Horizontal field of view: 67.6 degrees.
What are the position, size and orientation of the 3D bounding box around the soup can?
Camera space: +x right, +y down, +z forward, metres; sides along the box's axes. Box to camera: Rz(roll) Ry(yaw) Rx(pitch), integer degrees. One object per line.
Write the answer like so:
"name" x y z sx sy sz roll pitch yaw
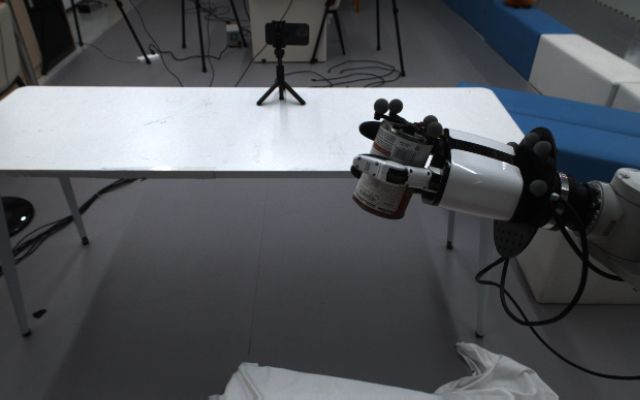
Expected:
"soup can" 0.088 -0.038 0.581 0.067 0.101 0.067 16 21 -7
